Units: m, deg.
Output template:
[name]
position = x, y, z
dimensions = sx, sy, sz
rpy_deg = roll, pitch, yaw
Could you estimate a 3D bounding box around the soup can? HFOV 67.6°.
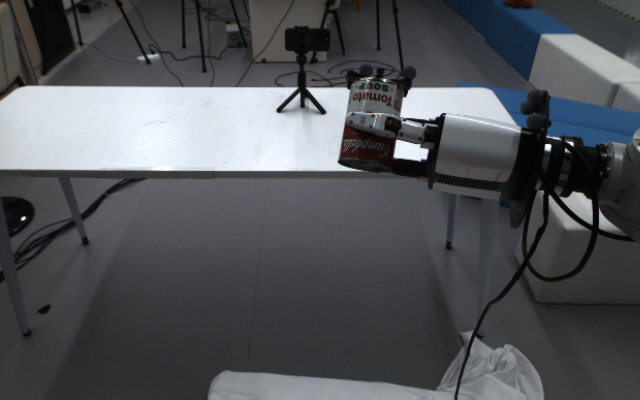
[soup can]
position = 0.064, -0.093, 0.598
dimensions = 0.067, 0.101, 0.067
rpy_deg = 9, -5, 1
